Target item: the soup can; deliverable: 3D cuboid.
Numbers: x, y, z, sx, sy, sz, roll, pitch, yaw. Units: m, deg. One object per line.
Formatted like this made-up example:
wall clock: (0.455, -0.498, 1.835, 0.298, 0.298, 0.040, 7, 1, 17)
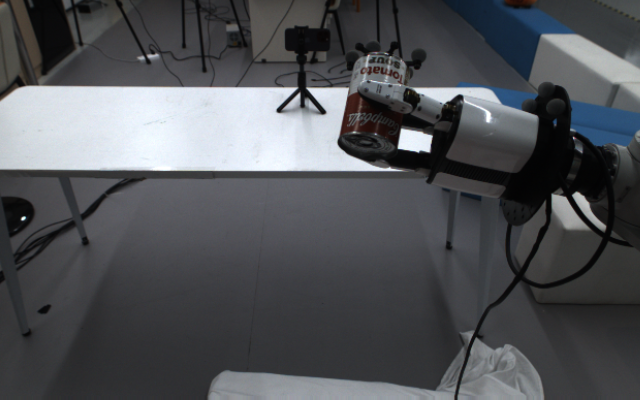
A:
soup can: (0.064, -0.107, 0.549, 0.067, 0.067, 0.101, 9, 74, 9)
